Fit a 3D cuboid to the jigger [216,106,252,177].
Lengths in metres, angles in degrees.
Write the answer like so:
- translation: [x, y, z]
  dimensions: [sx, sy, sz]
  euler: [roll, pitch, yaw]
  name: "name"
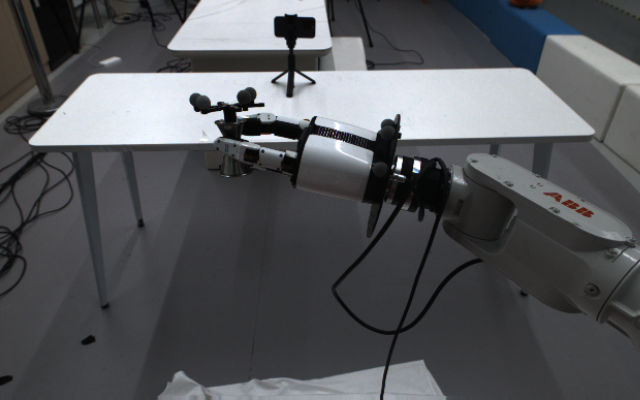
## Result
- translation: [-0.109, -0.066, 0.615]
  dimensions: [0.043, 0.071, 0.043]
  euler: [-2, 19, 1]
  name: "jigger"
